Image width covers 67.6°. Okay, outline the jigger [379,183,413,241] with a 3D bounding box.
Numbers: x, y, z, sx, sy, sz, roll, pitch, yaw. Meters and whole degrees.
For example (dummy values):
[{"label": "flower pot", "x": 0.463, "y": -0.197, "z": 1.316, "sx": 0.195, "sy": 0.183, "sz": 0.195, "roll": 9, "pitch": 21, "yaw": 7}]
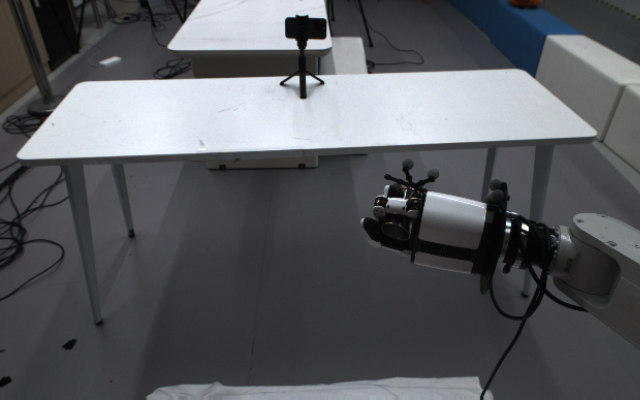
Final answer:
[{"label": "jigger", "x": 0.121, "y": 0.016, "z": 0.708, "sx": 0.043, "sy": 0.043, "sz": 0.071, "roll": 15, "pitch": 58, "yaw": 18}]
